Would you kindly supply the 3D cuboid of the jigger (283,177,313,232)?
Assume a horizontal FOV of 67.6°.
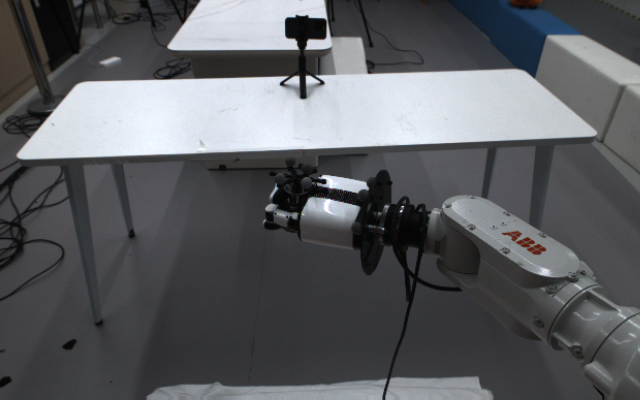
[{"bbox_3d":[-0.037,0.012,0.761,0.043,0.071,0.043,5,26,-3],"label":"jigger"}]
